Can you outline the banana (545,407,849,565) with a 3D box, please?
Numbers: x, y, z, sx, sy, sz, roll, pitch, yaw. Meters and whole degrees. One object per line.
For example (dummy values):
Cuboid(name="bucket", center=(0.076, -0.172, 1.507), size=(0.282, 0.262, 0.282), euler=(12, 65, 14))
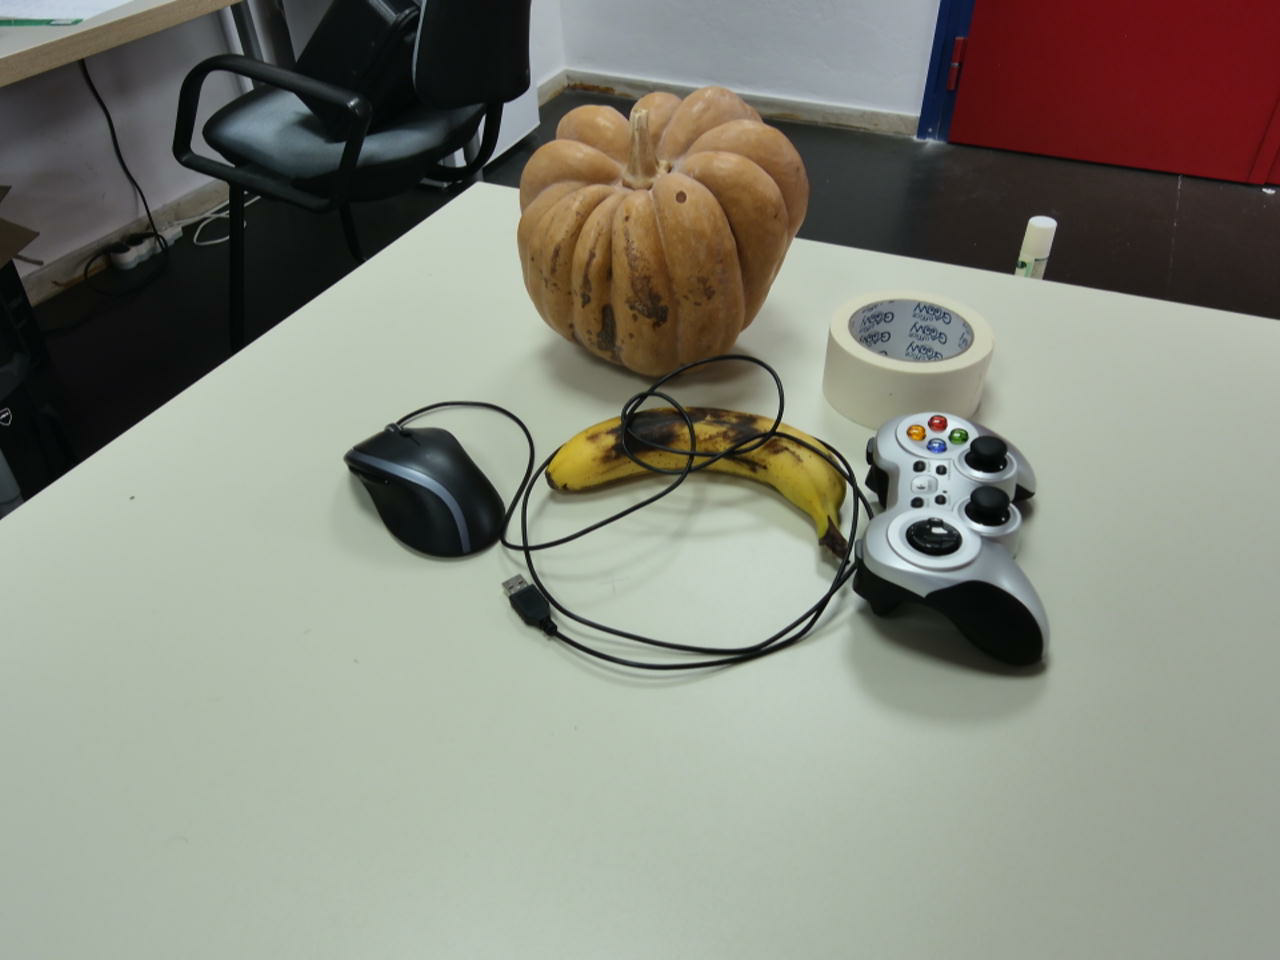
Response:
Cuboid(name="banana", center=(0.042, -0.009, 0.599), size=(0.187, 0.039, 0.094), euler=(15, 41, 18))
